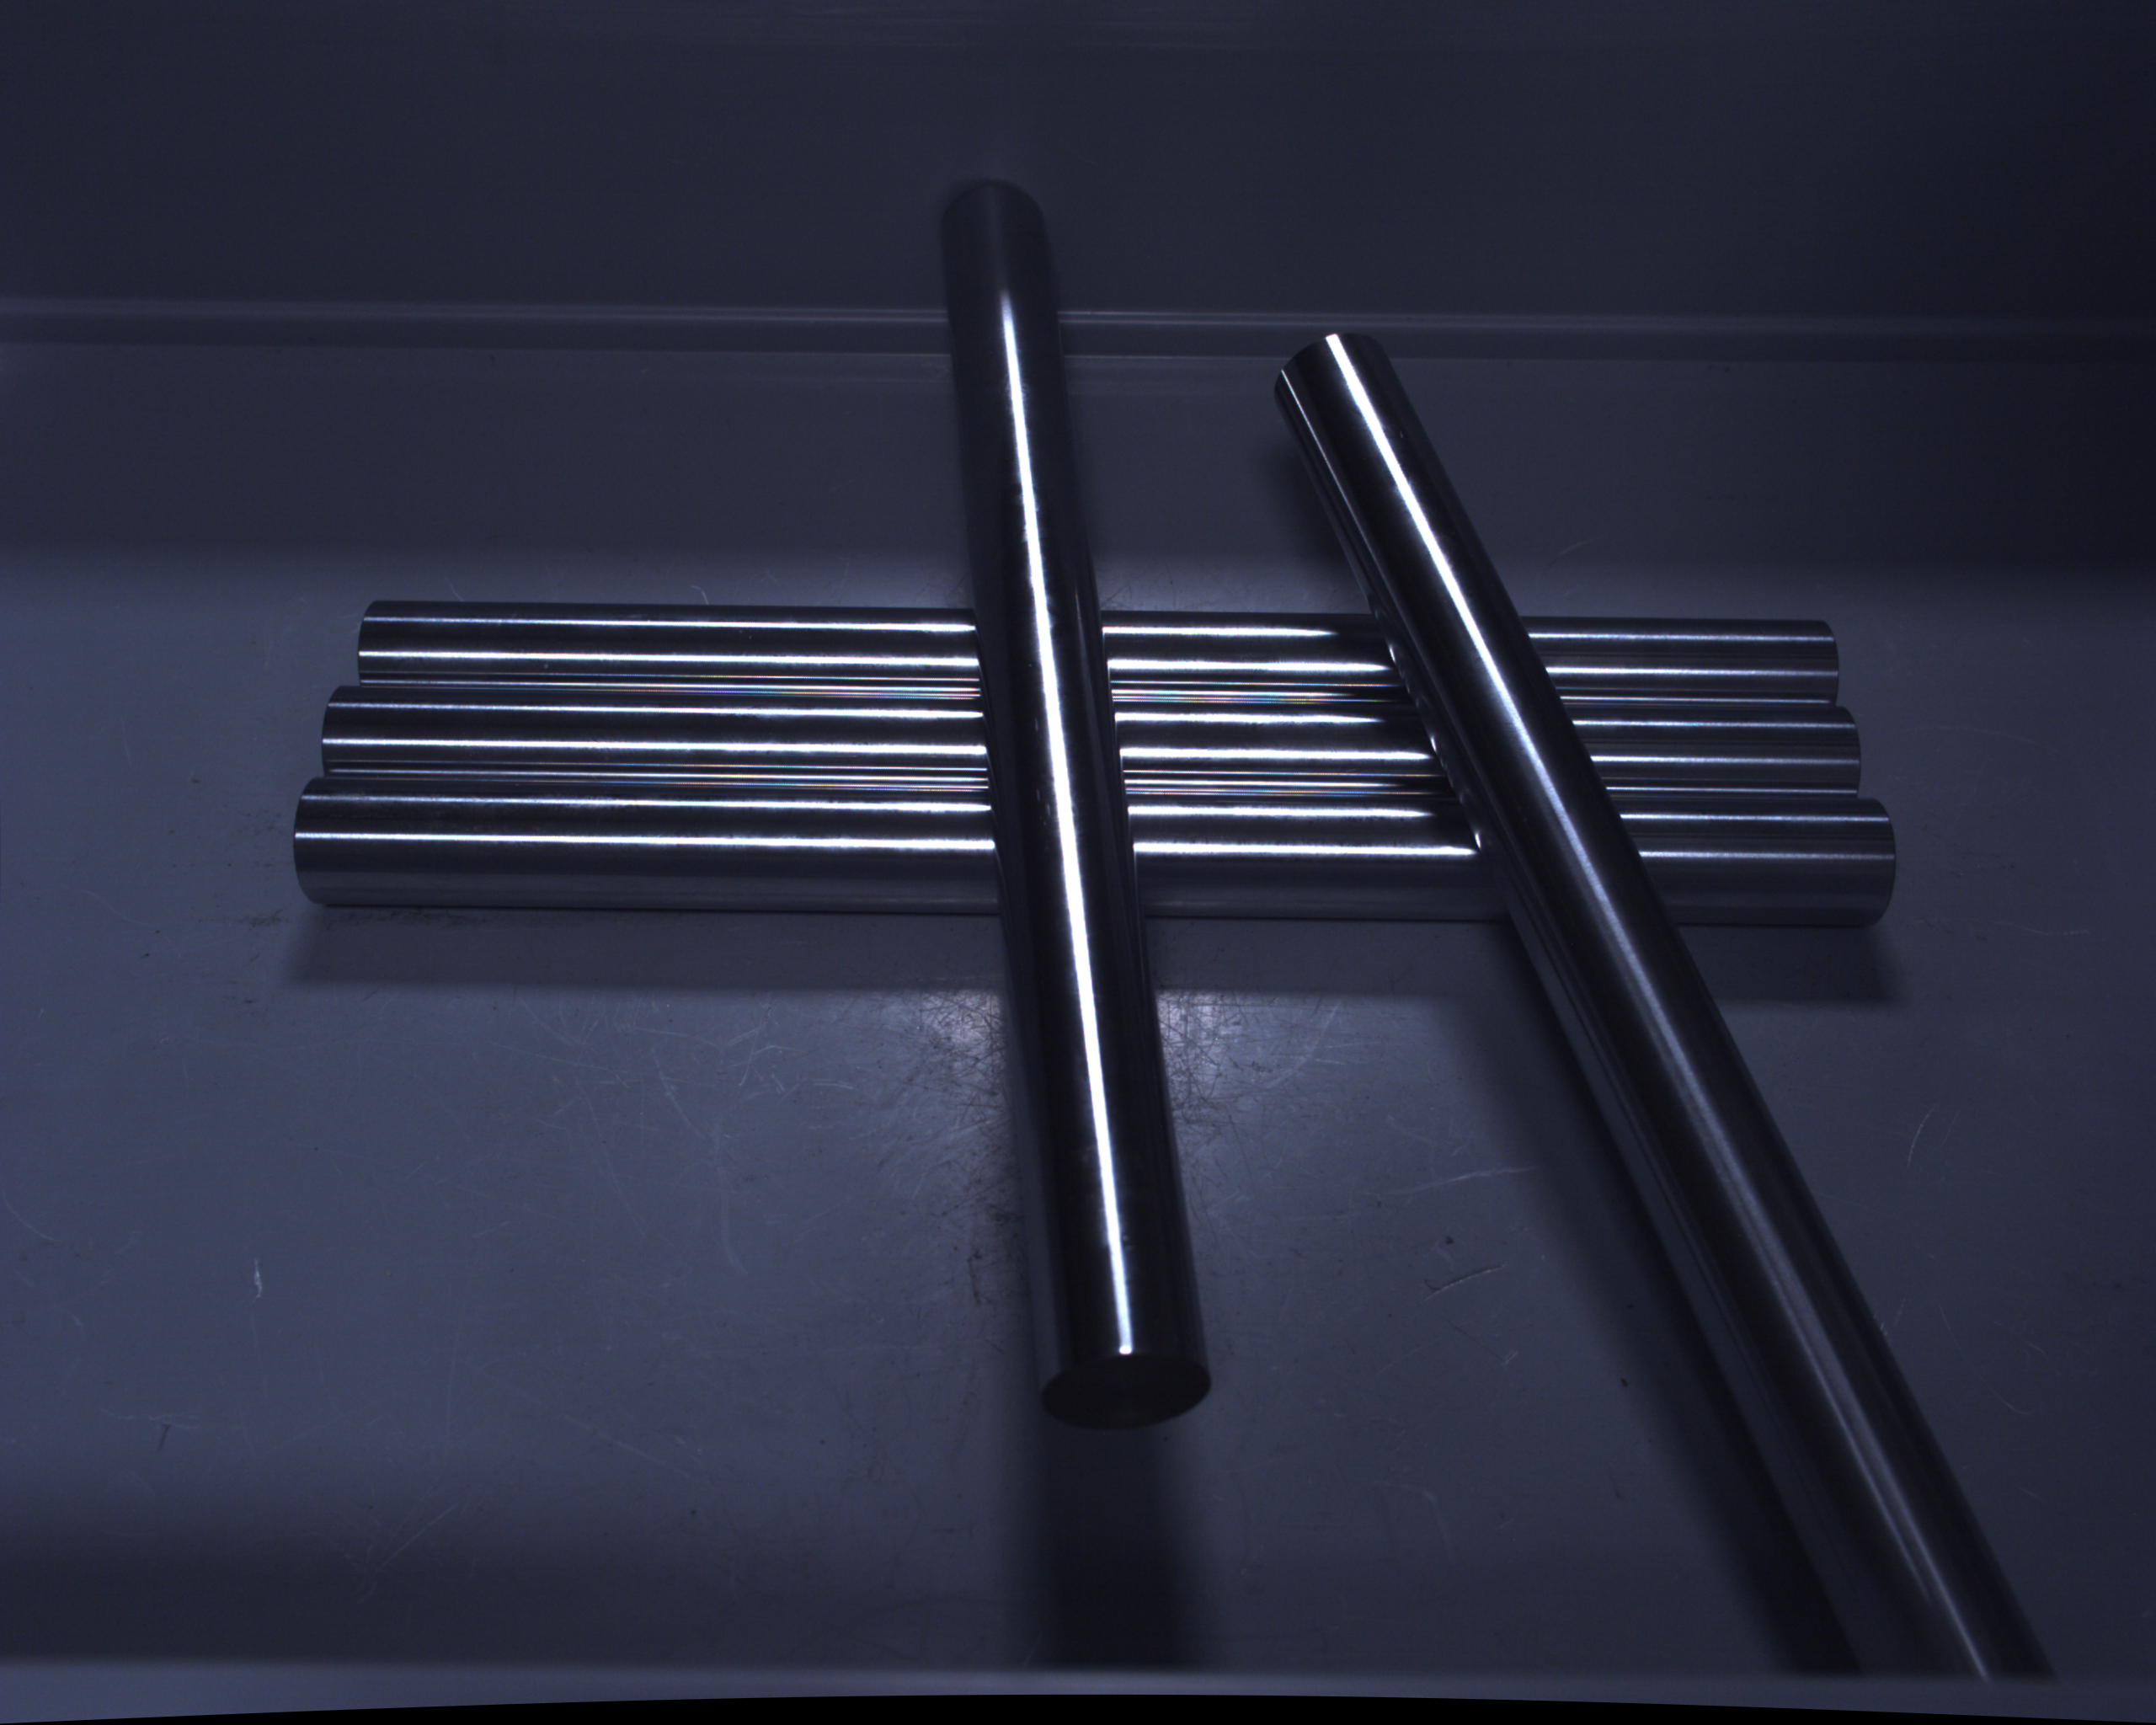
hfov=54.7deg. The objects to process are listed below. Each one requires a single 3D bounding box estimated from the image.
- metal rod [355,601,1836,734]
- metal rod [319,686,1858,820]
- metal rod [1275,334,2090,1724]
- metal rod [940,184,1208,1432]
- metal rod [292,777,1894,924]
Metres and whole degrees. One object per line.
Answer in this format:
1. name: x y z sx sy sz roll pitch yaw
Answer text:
1. metal rod: 0.004 -0.040 0.437 0.302 0.025 0.025 1 50 0
2. metal rod: 0.002 -0.021 0.421 0.302 0.025 0.025 1 50 0
3. metal rod: 0.094 0.019 0.363 0.025 0.025 0.299 -12 58 -10
4. metal rod: -0.007 -0.036 0.401 0.025 0.025 0.300 -4 50 -4
5. metal rod: 0.003 -0.002 0.405 0.302 0.025 0.025 1 50 0
